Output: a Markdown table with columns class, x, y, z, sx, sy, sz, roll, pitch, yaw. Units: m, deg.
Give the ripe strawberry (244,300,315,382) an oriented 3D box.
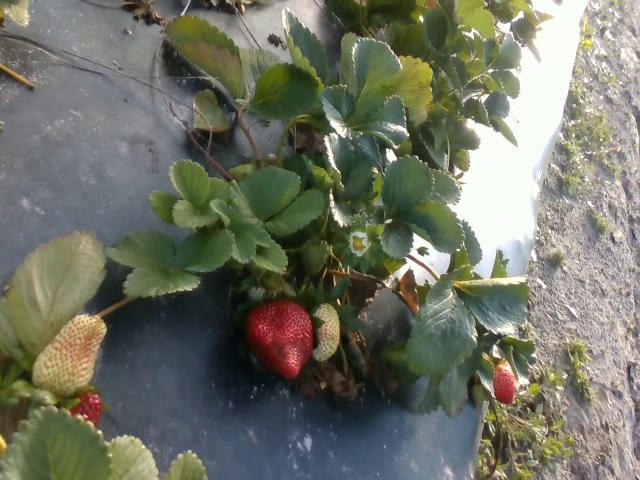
| class | x | y | z | sx | sy | sz | roll | pitch | yaw |
| --- | --- | --- | --- | --- | --- | --- | --- | --- | --- |
| ripe strawberry | -0.028 | 0.071 | 0.424 | 0.057 | 0.058 | 0.071 | -1 | -1 | 3 |
